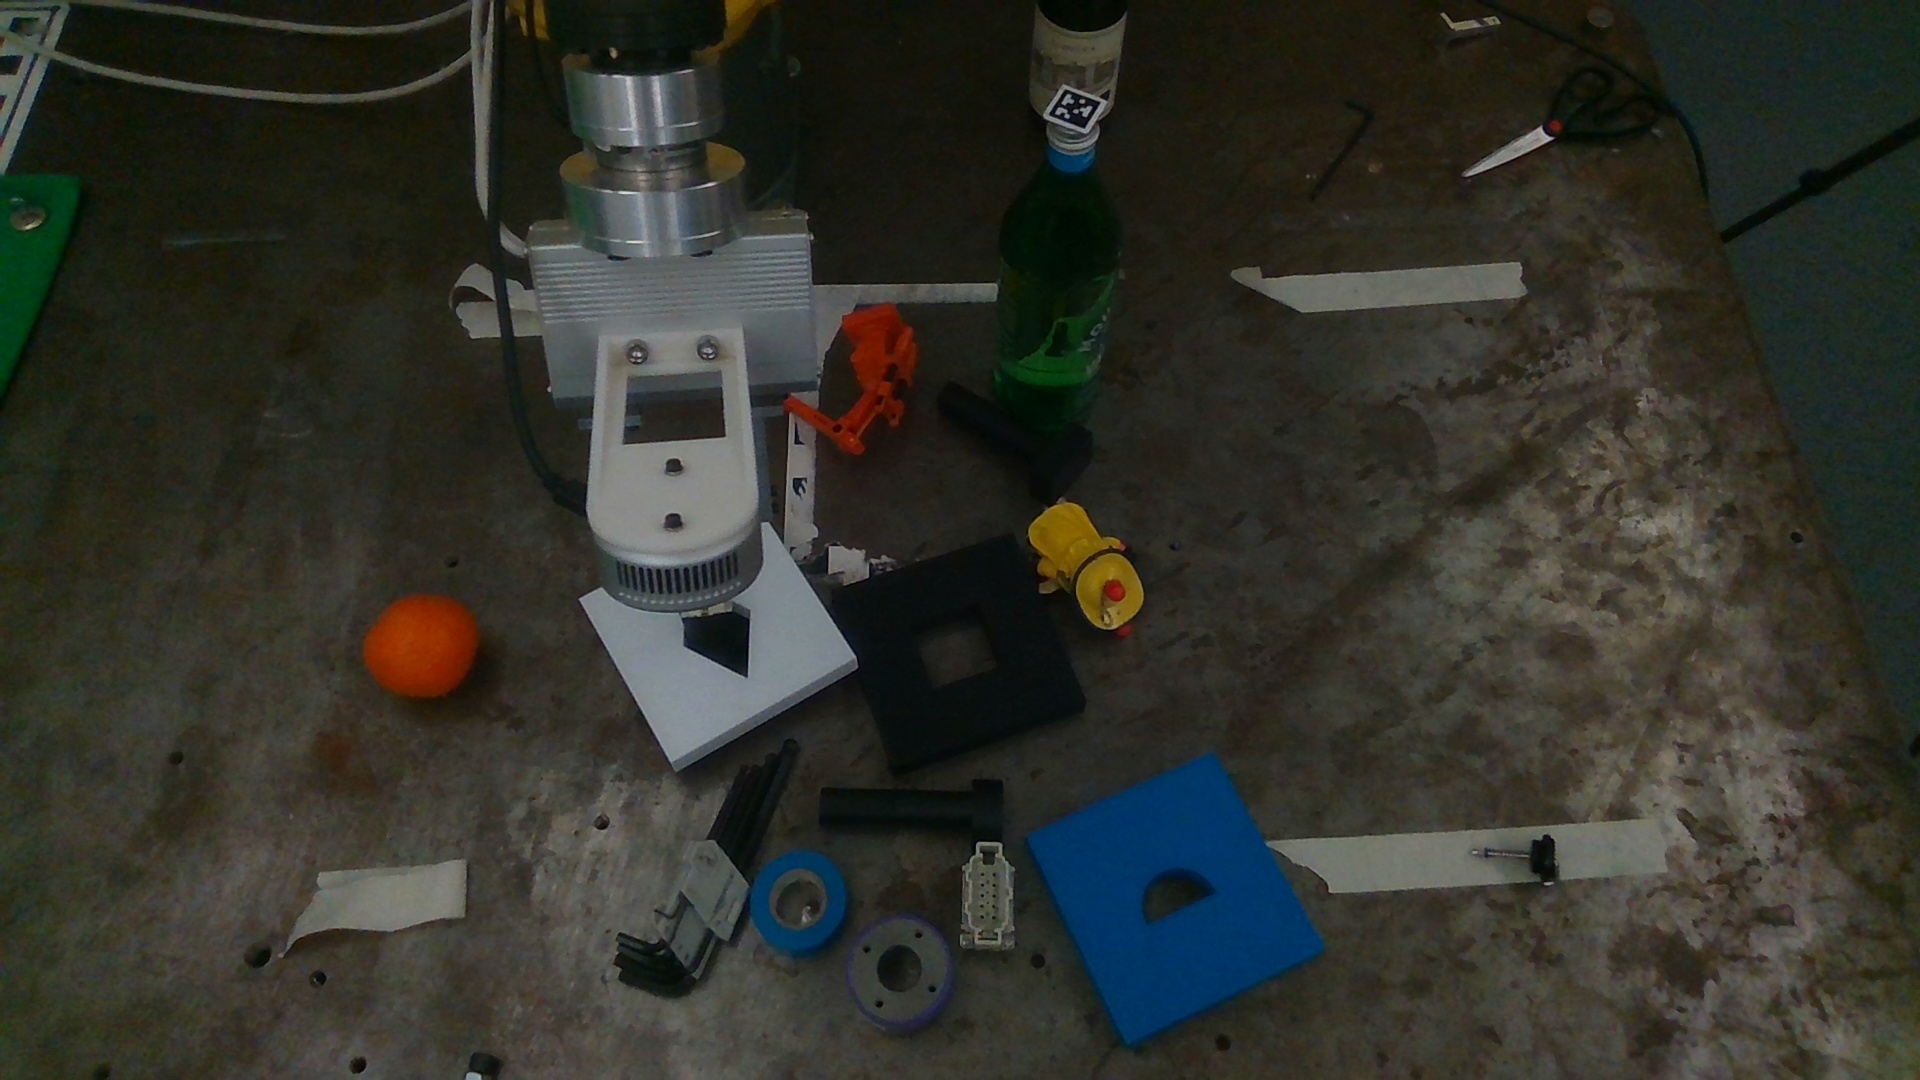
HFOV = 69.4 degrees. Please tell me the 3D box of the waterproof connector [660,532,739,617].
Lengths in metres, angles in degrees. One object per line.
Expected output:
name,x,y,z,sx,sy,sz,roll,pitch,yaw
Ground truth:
waterproof connector,-0.128,0.017,0.684,0.036,0.069,0.038,-7,89,-10
